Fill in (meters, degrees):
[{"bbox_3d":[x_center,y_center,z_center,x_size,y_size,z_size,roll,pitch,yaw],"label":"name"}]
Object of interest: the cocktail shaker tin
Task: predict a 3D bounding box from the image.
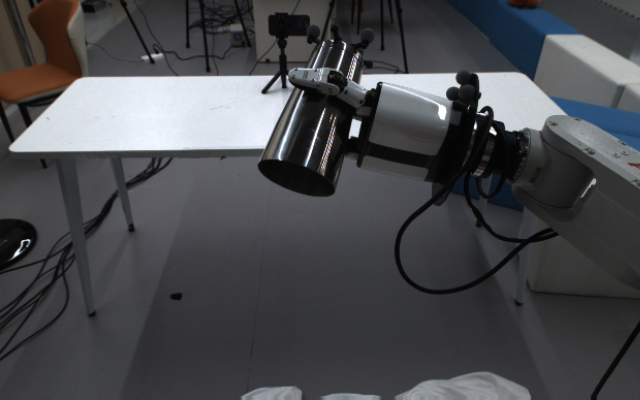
[{"bbox_3d":[-0.003,-0.101,0.570,0.093,0.093,0.170,13,70,15],"label":"cocktail shaker tin"}]
